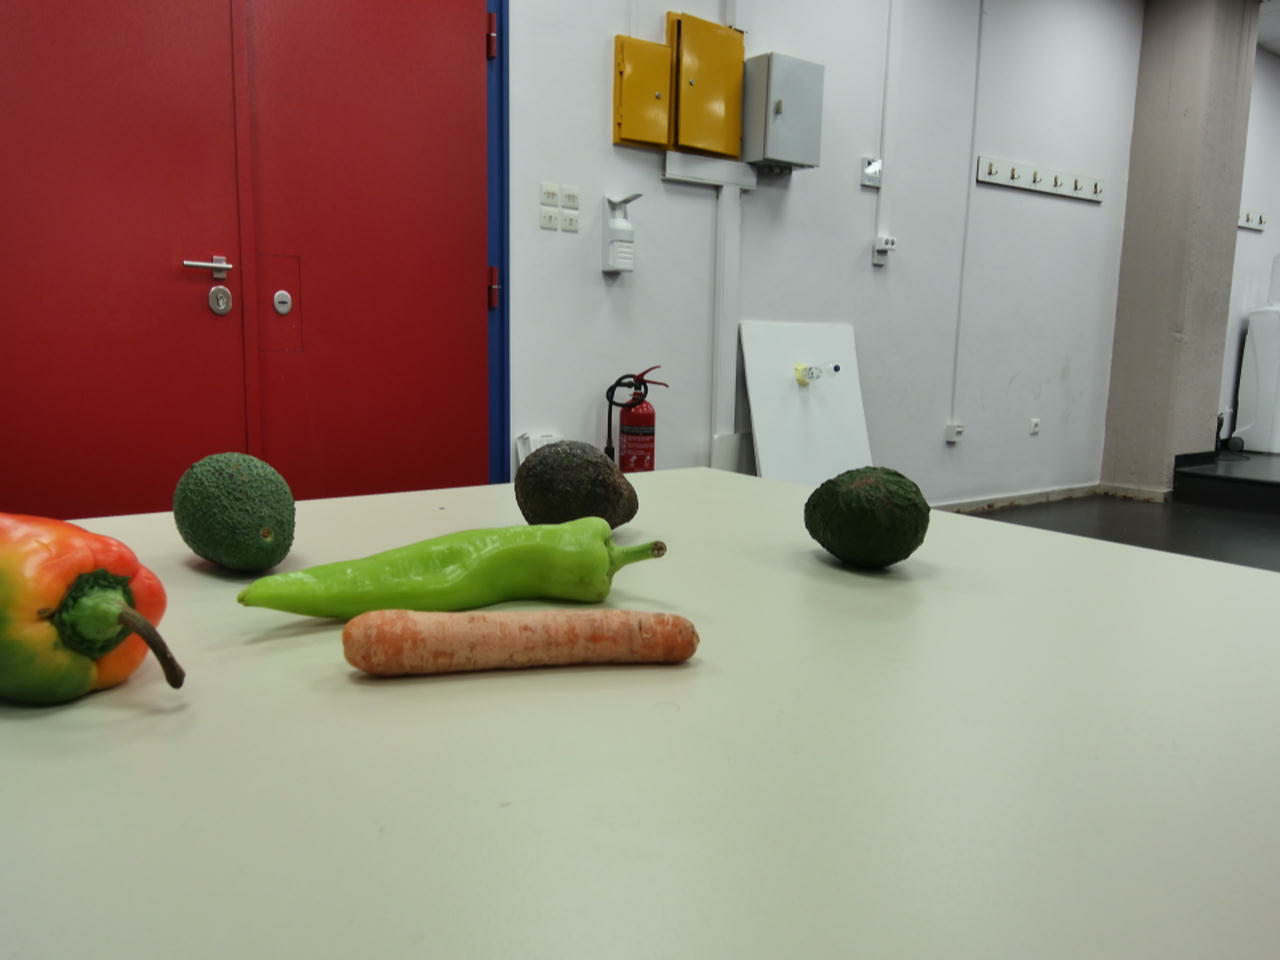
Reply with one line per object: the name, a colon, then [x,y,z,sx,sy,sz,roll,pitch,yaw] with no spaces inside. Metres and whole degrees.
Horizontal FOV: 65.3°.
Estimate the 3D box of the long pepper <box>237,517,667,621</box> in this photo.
long pepper: [-0.091,0.045,0.510,0.204,0.045,0.065,-3,7,-21]
